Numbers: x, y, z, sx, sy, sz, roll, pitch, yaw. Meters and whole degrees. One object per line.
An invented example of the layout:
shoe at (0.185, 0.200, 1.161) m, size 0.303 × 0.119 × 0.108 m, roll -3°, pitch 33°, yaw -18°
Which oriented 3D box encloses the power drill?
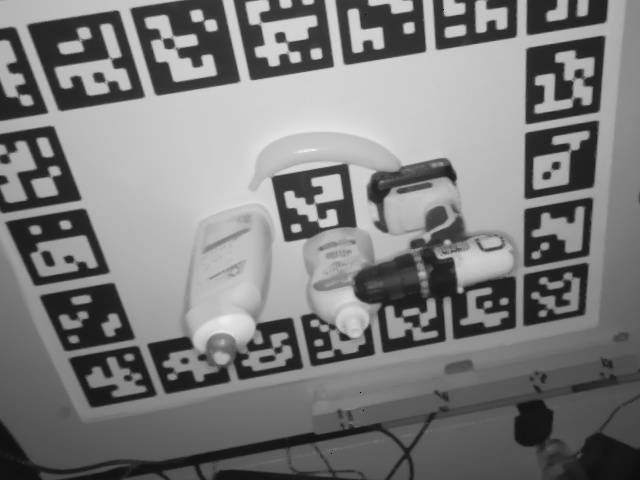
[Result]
power drill at (0.131, 0.010, 0.803) m, size 0.184 × 0.188 × 0.057 m, roll -10°, pitch 126°, yaw 4°

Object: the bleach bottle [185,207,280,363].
bleach bottle at (-0.098, 0.050, 0.798) m, size 0.102 × 0.252 × 0.067 m, roll -16°, pitch 117°, yaw 4°

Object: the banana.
banana at (0.008, -0.089, 0.844) m, size 0.198 × 0.039 × 0.074 m, roll -7°, pitch 114°, yaw -4°

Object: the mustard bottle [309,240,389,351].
mustard bottle at (0.038, 0.069, 0.846) m, size 0.096 × 0.192 × 0.058 m, roll -8°, pitch 119°, yaw 1°
